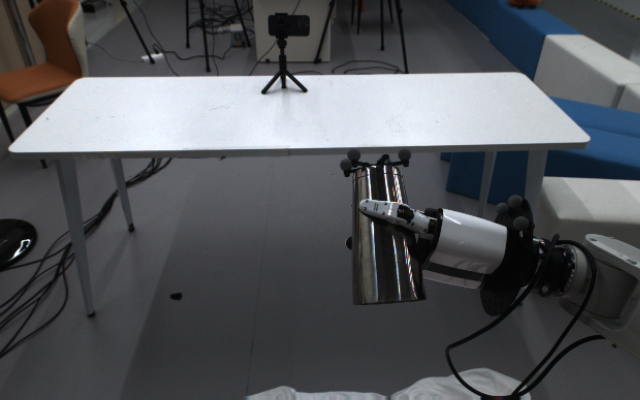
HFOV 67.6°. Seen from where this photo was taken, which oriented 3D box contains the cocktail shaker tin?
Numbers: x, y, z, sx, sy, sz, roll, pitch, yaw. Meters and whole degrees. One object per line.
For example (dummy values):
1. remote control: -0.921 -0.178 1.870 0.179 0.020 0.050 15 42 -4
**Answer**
1. cocktail shaker tin: 0.082 0.046 0.625 0.093 0.093 0.170 -3 76 -8
